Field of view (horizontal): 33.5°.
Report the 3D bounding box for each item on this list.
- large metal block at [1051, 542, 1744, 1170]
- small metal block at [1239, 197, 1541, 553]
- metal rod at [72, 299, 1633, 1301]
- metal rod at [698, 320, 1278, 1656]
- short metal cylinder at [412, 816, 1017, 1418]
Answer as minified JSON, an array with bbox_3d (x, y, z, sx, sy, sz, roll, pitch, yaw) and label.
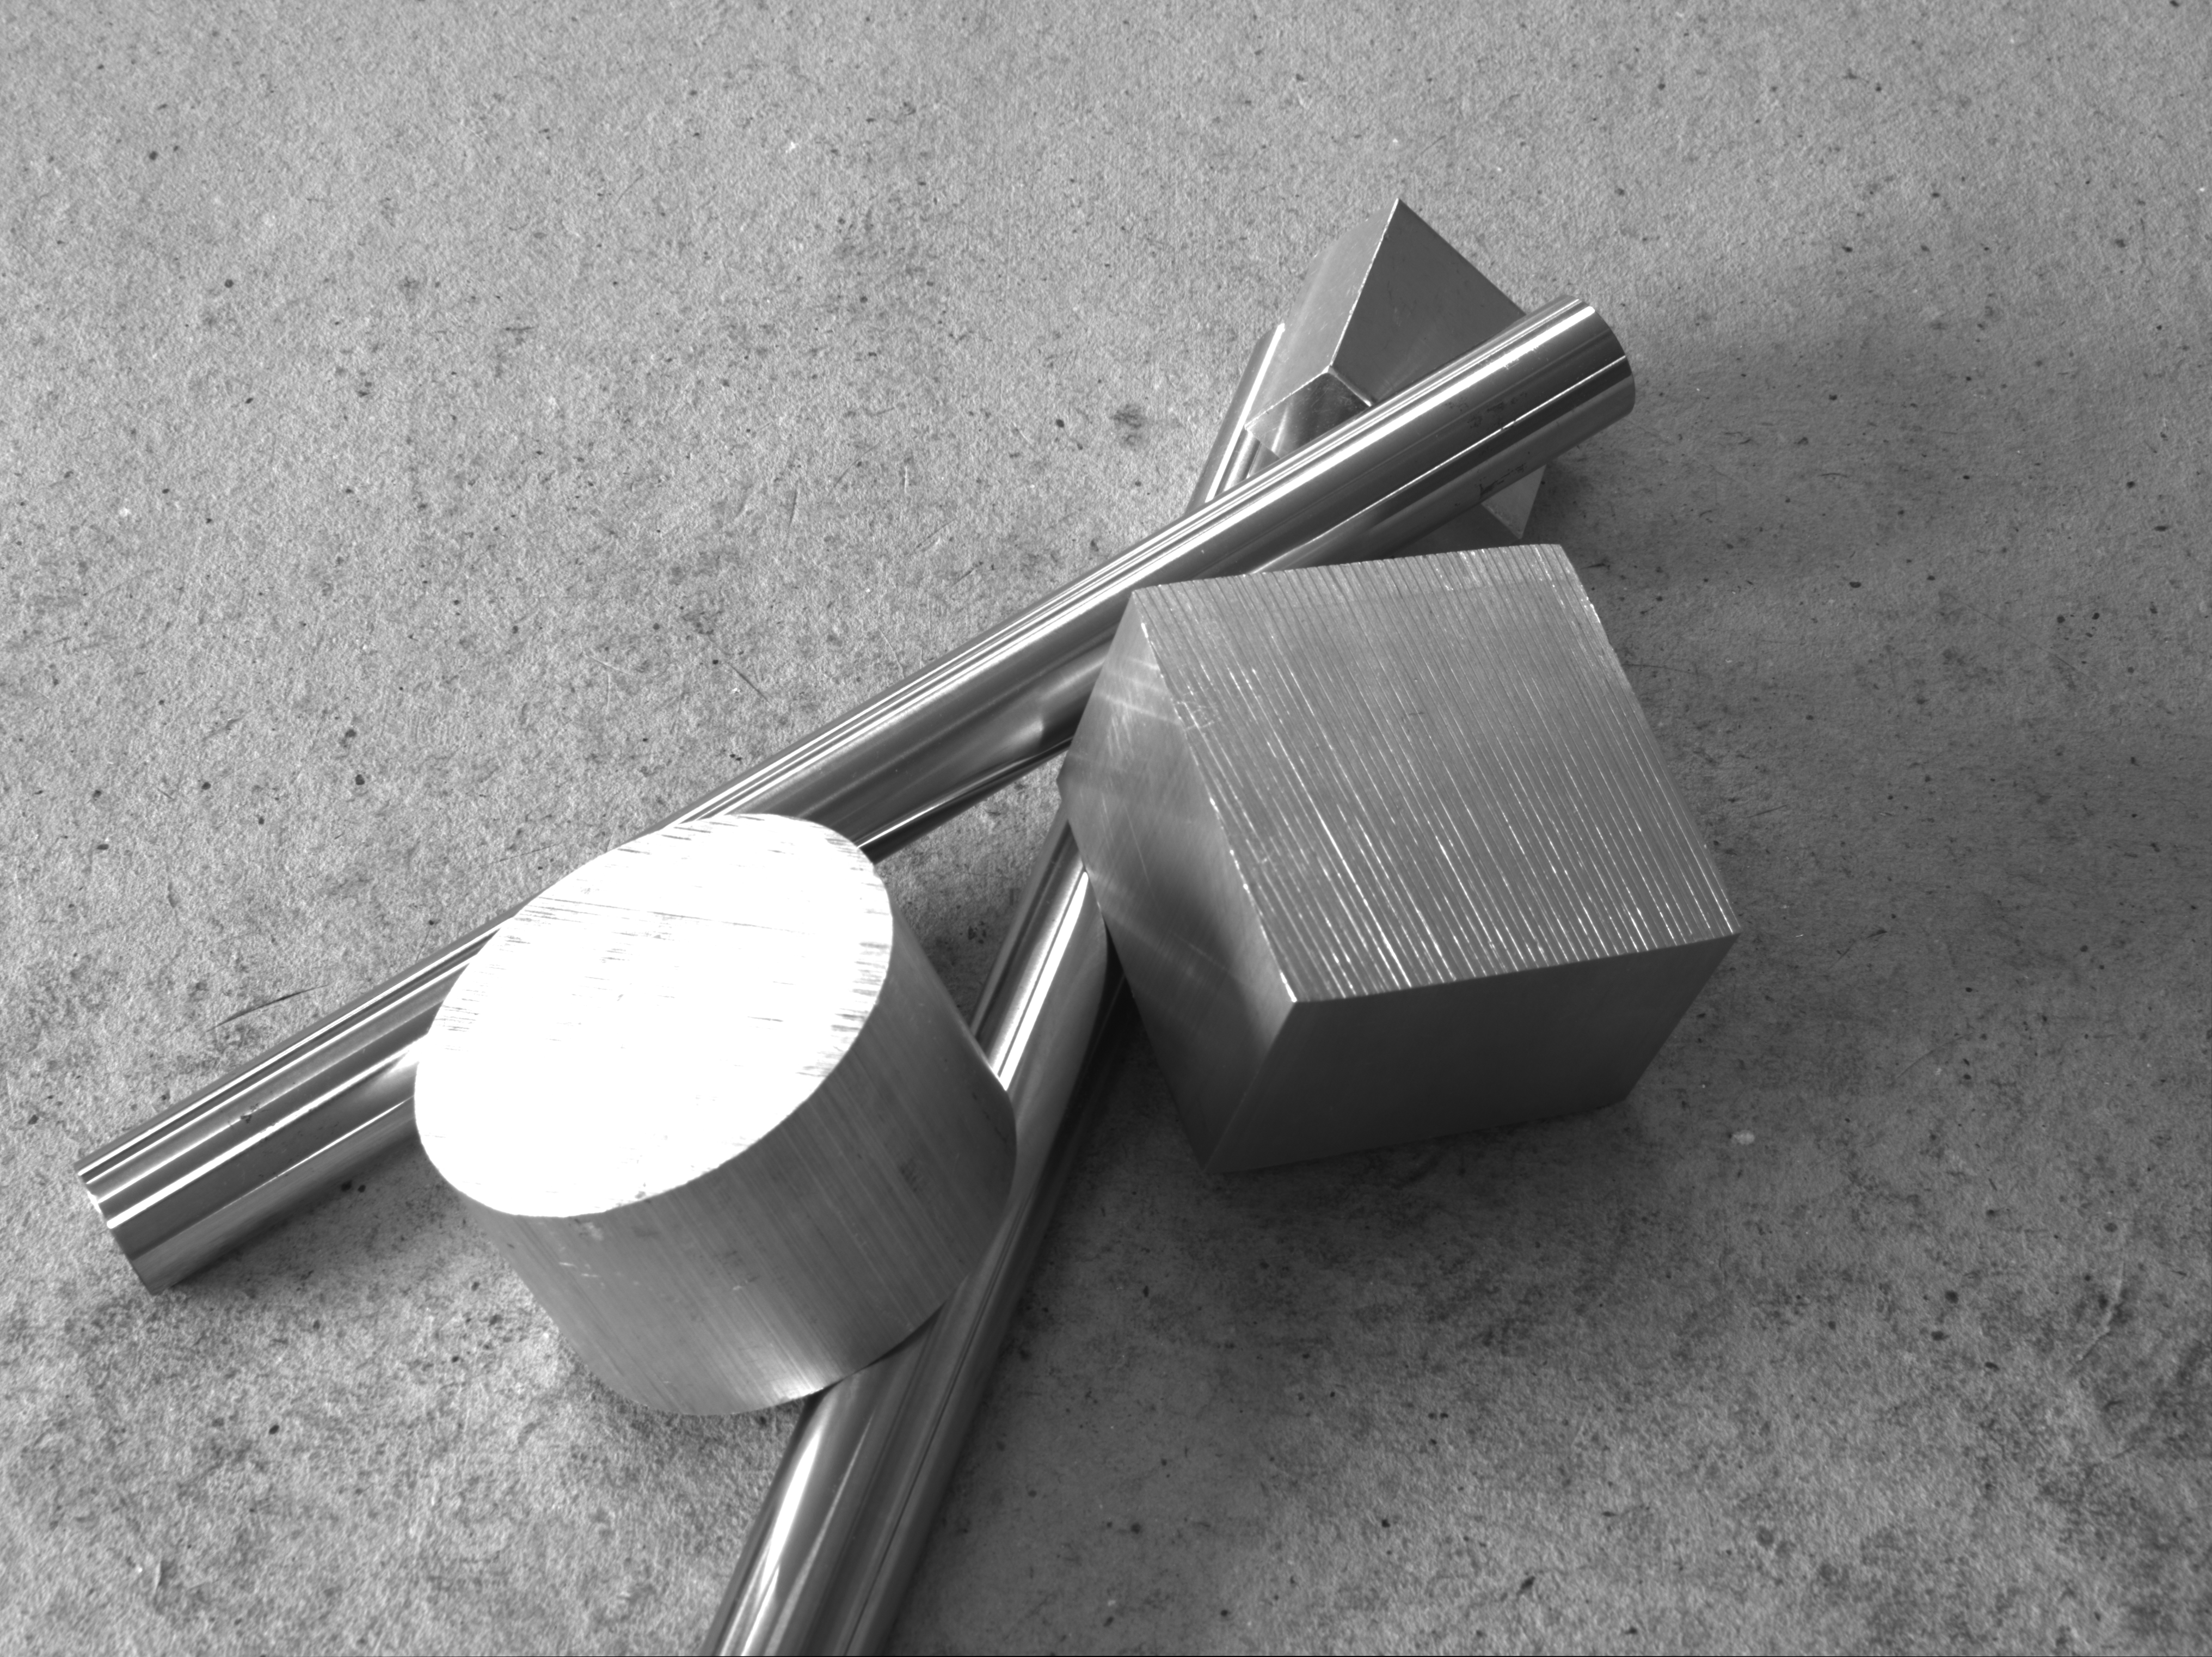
[{"bbox_3d":[0.046,0.003,0.604,0.080,0.050,0.080,-7,58,-22],"label":"large metal block"},{"bbox_3d":[0.058,-0.082,0.696,0.050,0.025,0.050,39,49,-20],"label":"small metal block"},{"bbox_3d":[-0.035,-0.010,0.629,0.300,0.025,0.025,-31,56,-16],"label":"metal rod"},{"bbox_3d":[-0.005,0.019,0.626,0.025,0.025,0.300,13,51,11],"label":"metal rod"},{"bbox_3d":[-0.060,0.044,0.573,0.080,0.050,0.080,-15,41,14],"label":"short metal cylinder"}]
